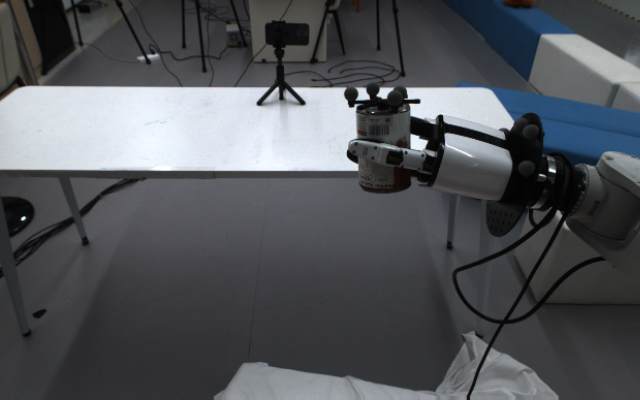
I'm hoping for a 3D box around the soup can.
[{"bbox_3d":[0.081,-0.067,0.609,0.067,0.101,0.067,-4,21,1],"label":"soup can"}]
